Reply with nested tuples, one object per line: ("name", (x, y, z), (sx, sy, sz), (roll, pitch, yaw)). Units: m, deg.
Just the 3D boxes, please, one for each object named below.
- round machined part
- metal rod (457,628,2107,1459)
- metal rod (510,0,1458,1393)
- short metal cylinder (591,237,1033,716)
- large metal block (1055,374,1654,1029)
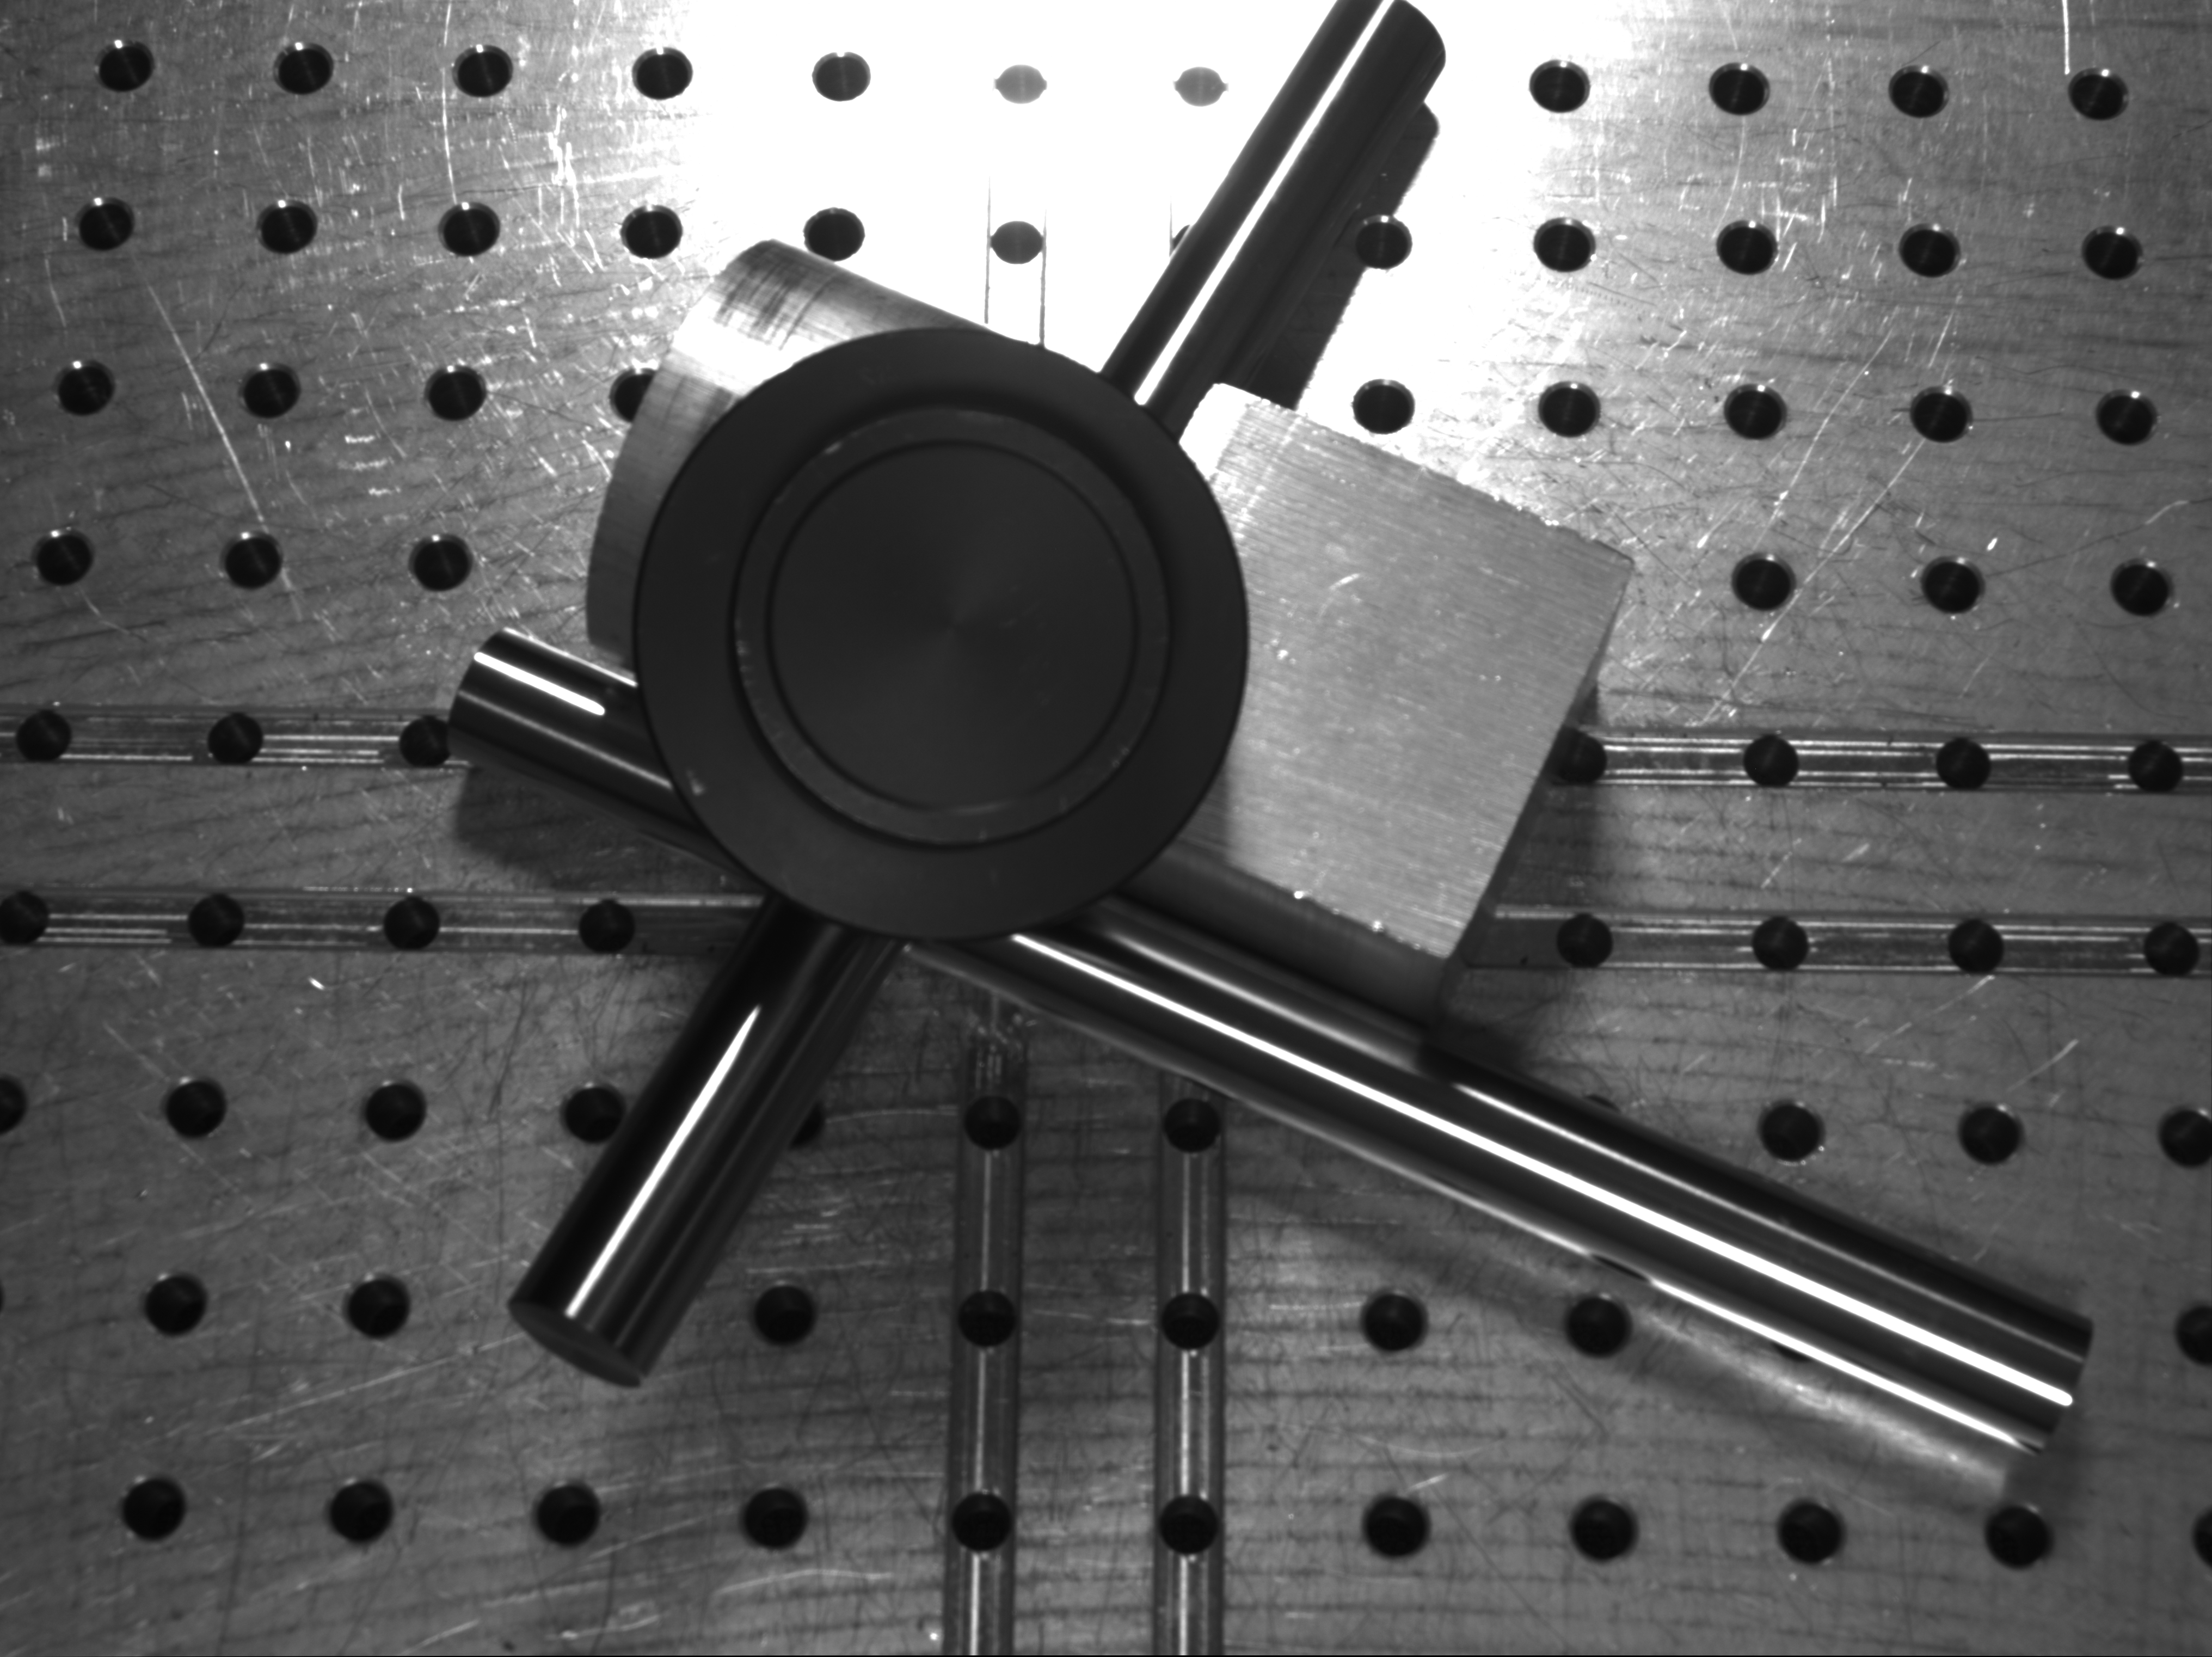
("round machined part", (-0.024, -0.030, 0.580), (0.098, 0.042, 0.098), (0, 90, -7))
("metal rod", (0.026, 0.035, 0.634), (0.300, 0.025, 0.025), (24, 72, 8))
("metal rod", (-0.013, -0.035, 0.639), (0.025, 0.025, 0.300), (26, 65, 9))
("short metal cylinder", (-0.048, -0.056, 0.638), (0.050, 0.080, 0.080), (24, 72, 9))
("large metal block", (0.040, -0.020, 0.638), (0.080, 0.050, 0.080), (24, 72, 9))
